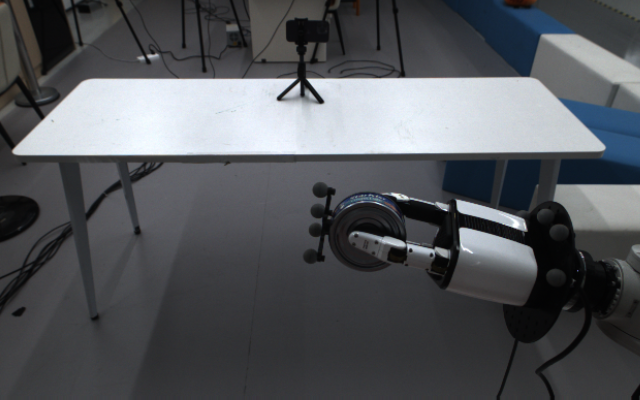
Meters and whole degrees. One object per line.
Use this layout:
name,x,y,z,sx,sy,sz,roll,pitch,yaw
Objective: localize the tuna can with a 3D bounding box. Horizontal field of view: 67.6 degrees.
tuna can,0.056,0.039,0.535,0.085,0.085,0.034,4,18,3
